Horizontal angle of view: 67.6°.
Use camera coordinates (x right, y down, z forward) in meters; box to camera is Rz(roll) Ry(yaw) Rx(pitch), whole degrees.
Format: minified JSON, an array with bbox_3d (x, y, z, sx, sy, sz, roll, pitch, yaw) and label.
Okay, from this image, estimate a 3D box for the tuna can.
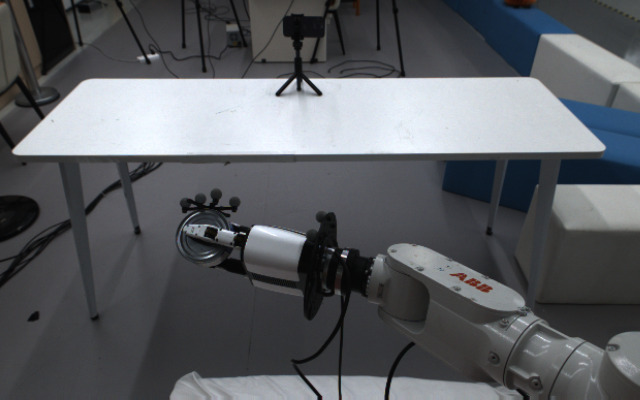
[{"bbox_3d":[-0.169,0.061,0.743,0.085,0.034,0.085,-2,69,6],"label":"tuna can"}]
